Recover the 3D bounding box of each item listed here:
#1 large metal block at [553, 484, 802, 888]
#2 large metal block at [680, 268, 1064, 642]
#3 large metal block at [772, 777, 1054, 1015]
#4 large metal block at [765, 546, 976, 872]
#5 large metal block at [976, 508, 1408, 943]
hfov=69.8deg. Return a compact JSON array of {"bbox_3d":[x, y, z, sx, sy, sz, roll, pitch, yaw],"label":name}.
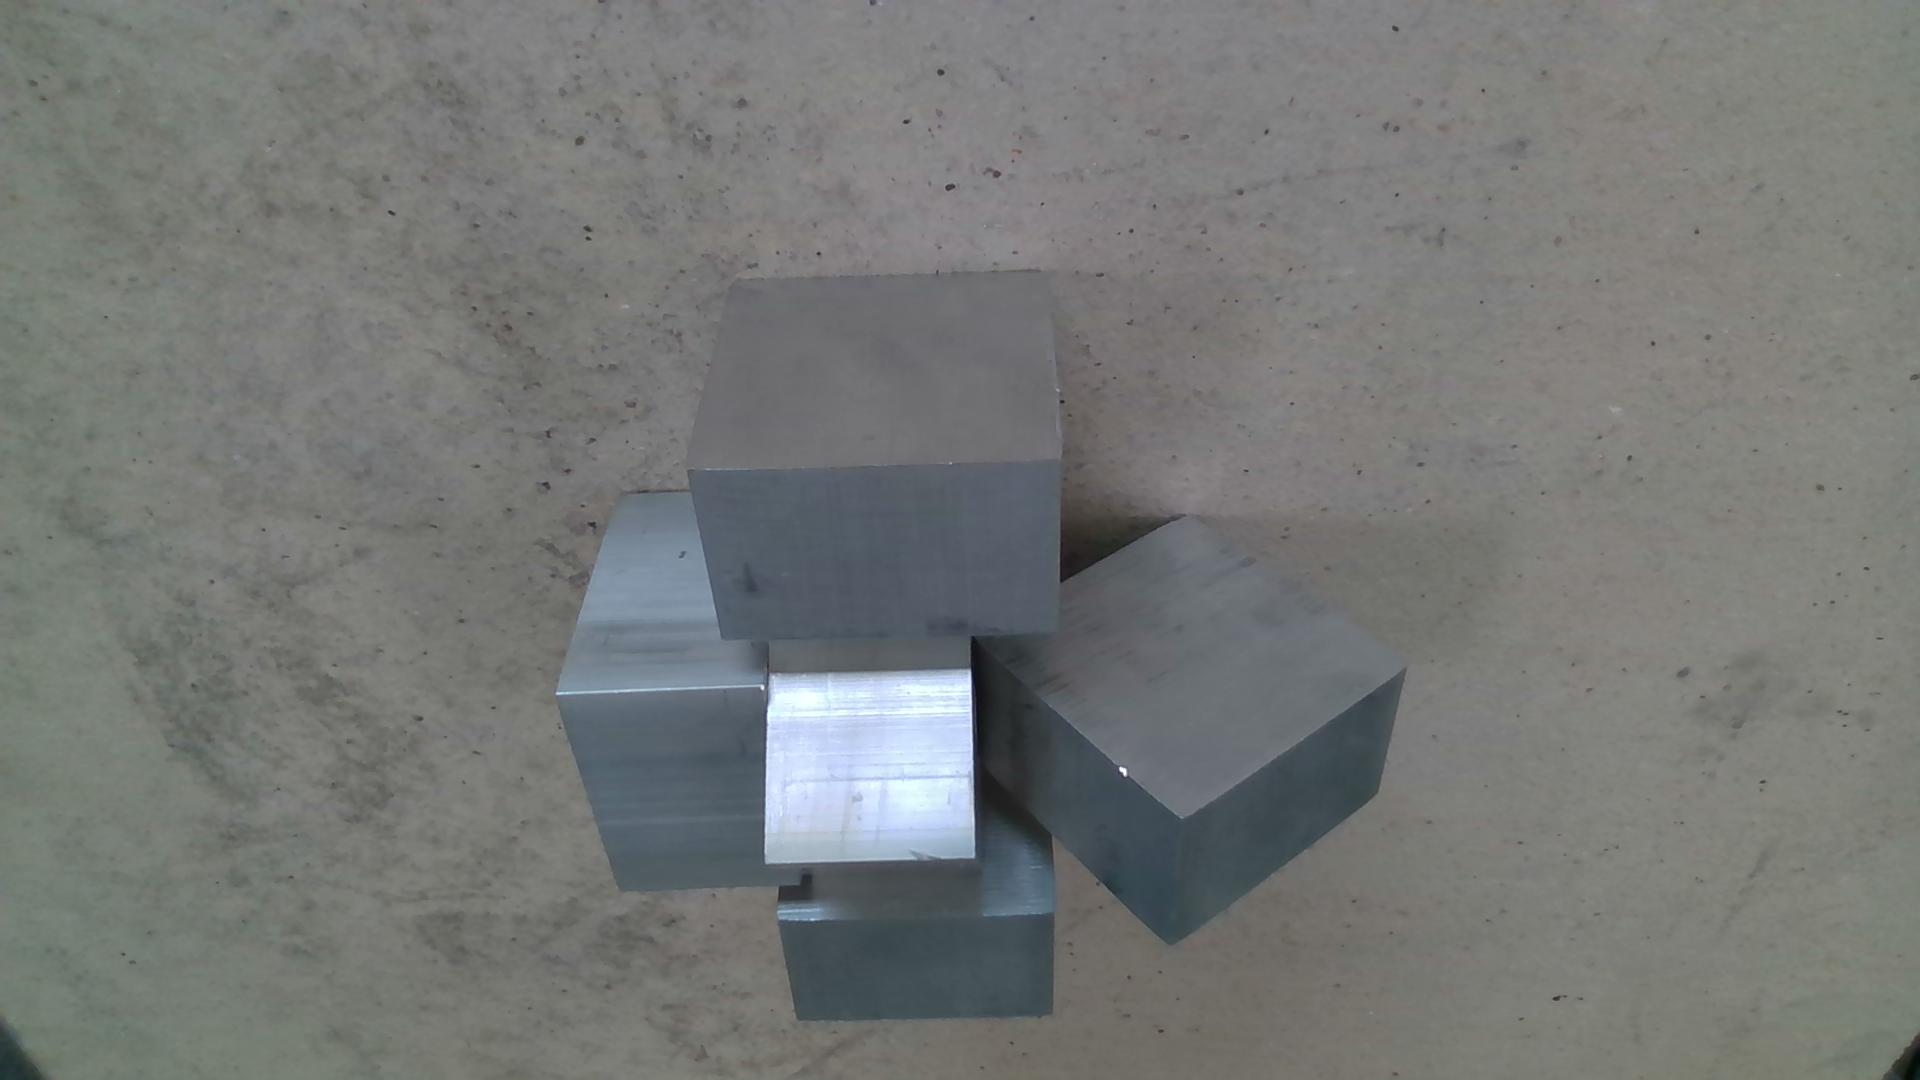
[{"bbox_3d":[-0.071,0.040,0.388,0.050,0.080,0.080,-2,130,2],"label":"large metal block"},{"bbox_3d":[-0.018,-0.022,0.333,0.080,0.080,0.050,-2,131,1],"label":"large metal block"},{"bbox_3d":[-0.013,0.100,0.437,0.080,0.080,0.050,-2,131,0],"label":"large metal block"},{"bbox_3d":[-0.022,0.048,0.375,0.050,0.080,0.080,-2,165,1],"label":"large metal block"},{"bbox_3d":[0.059,0.046,0.373,0.080,0.080,0.050,-28,136,-26],"label":"large metal block"}]
